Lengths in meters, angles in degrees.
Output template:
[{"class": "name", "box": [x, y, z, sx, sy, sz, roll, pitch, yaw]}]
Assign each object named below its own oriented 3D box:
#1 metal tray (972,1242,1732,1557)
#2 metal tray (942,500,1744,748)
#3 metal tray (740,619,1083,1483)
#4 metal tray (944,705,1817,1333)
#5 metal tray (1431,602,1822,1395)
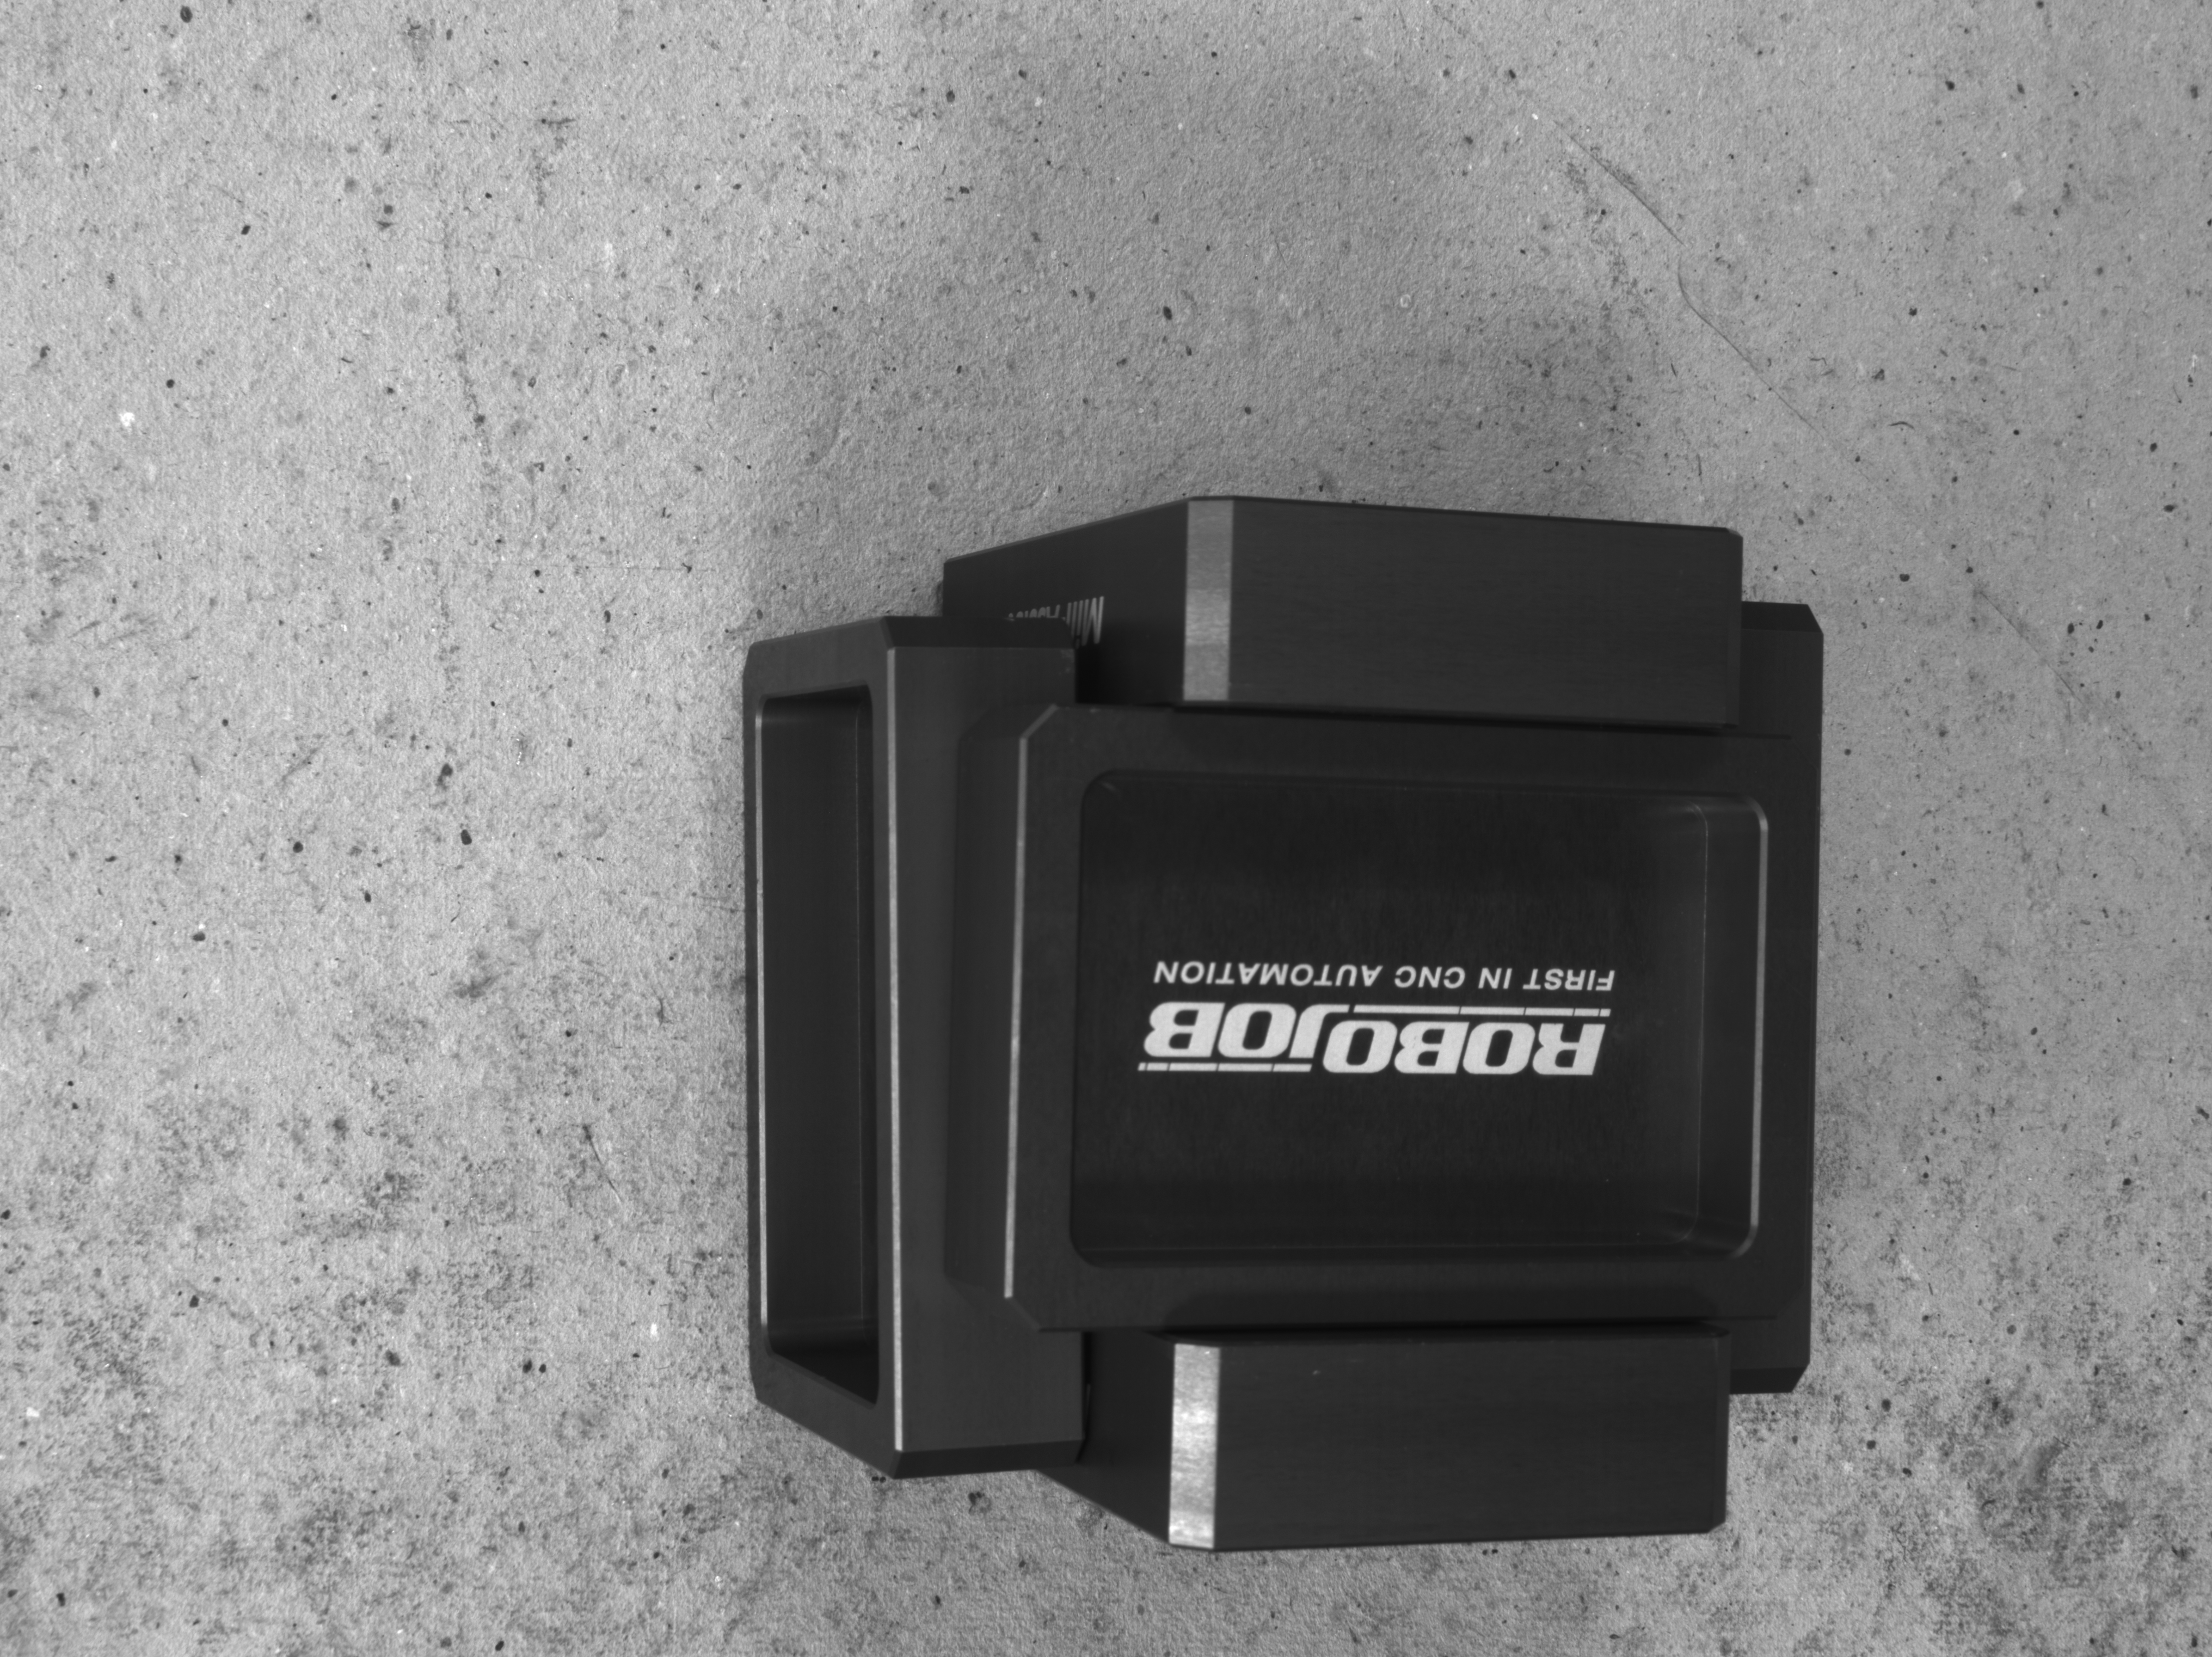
[{"class": "metal tray", "box": [0.032, 0.090, 0.599, 0.090, 0.130, 0.030, 2, 90, -20]}, {"class": "metal tray", "box": [0.034, -0.030, 0.599, 0.090, 0.130, 0.030, 2, 89, -20]}, {"class": "metal tray", "box": [-0.033, 0.034, 0.597, 0.030, 0.090, 0.130, -1, 90, -20]}, {"class": "metal tray", "box": [0.043, 0.029, 0.561, 0.130, 0.030, 0.090, 2, 90, -20]}, {"class": "metal tray", "box": [0.088, 0.028, 0.641, 0.030, 0.090, 0.130, 2, 88, -19]}]
